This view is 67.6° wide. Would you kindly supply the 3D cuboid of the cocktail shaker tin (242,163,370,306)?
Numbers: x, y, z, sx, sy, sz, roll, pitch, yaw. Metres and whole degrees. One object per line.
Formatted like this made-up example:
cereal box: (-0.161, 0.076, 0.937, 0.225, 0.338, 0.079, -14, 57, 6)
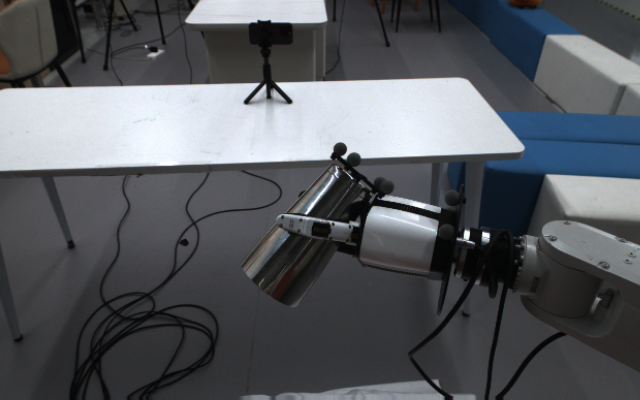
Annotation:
cocktail shaker tin: (-0.010, 0.037, 0.613, 0.170, 0.093, 0.093, -50, 46, 4)
